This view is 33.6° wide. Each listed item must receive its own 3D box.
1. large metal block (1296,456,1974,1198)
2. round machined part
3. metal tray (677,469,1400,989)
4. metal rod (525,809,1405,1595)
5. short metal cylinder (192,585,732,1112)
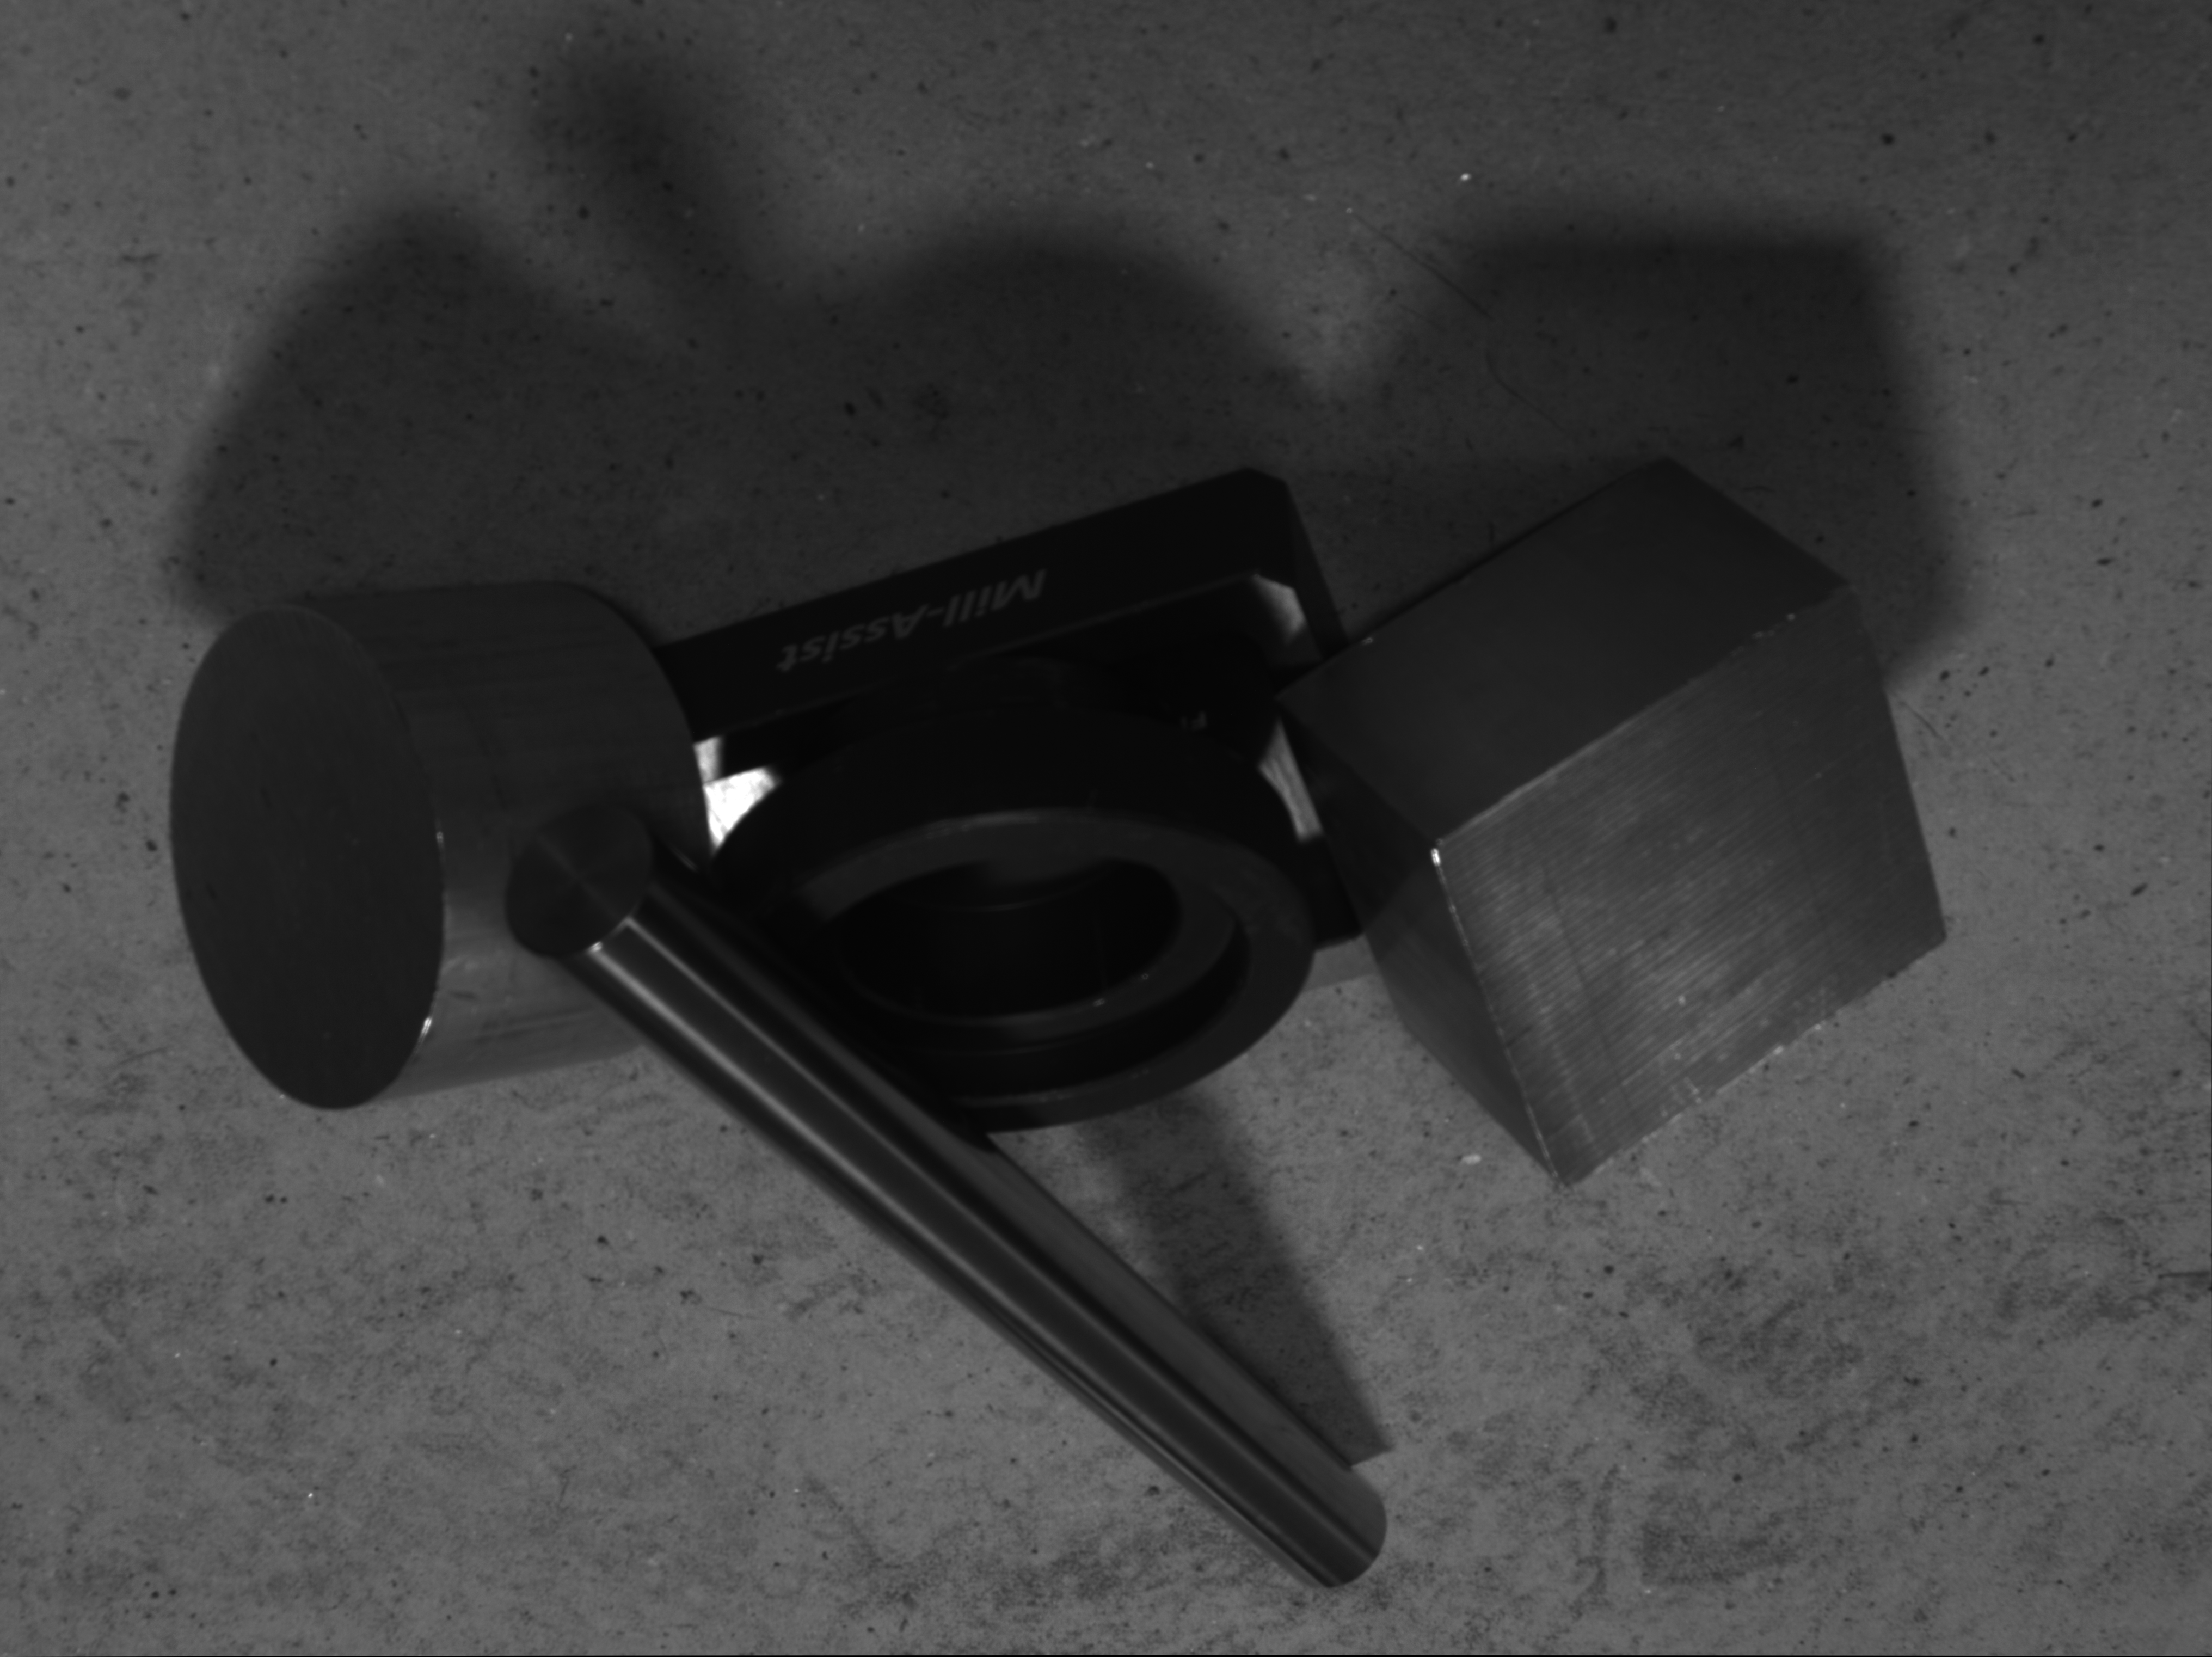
[{"bbox_3d":[0.088,0.000,0.603,0.080,0.050,0.080,-32,128,-9],"label":"large metal block"},{"bbox_3d":[-0.013,0.009,0.603,0.098,0.042,0.098,-4,145,-3],"label":"round machined part"},{"bbox_3d":[-0.014,-0.002,0.633,0.130,0.030,0.090,-16,129,11],"label":"metal tray"},{"bbox_3d":[-0.011,0.078,0.646,0.025,0.025,0.301,-21,144,15],"label":"metal rod"},{"bbox_3d":[-0.105,0.002,0.593,0.050,0.080,0.080,-10,142,-43],"label":"short metal cylinder"}]
